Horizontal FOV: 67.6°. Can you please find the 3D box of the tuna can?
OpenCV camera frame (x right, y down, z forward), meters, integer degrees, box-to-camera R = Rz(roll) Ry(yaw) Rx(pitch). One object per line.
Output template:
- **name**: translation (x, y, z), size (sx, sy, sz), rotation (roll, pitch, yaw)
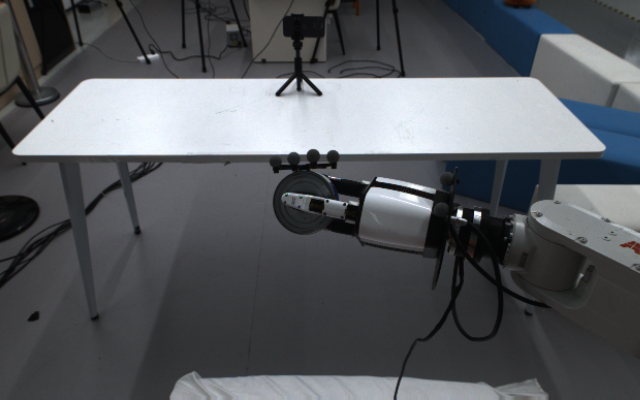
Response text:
- **tuna can**: translation (-0.016, 0.007, 0.650), size (0.085, 0.085, 0.034), rotation (10, 3, 11)
